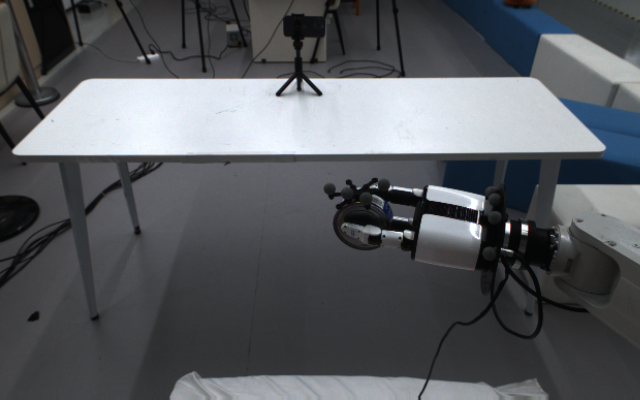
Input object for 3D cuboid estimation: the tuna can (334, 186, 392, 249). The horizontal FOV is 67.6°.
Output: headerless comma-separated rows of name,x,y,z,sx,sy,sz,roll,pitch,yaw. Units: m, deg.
tuna can,0.066,0.031,0.716,0.085,0.085,0.034,10,33,11
